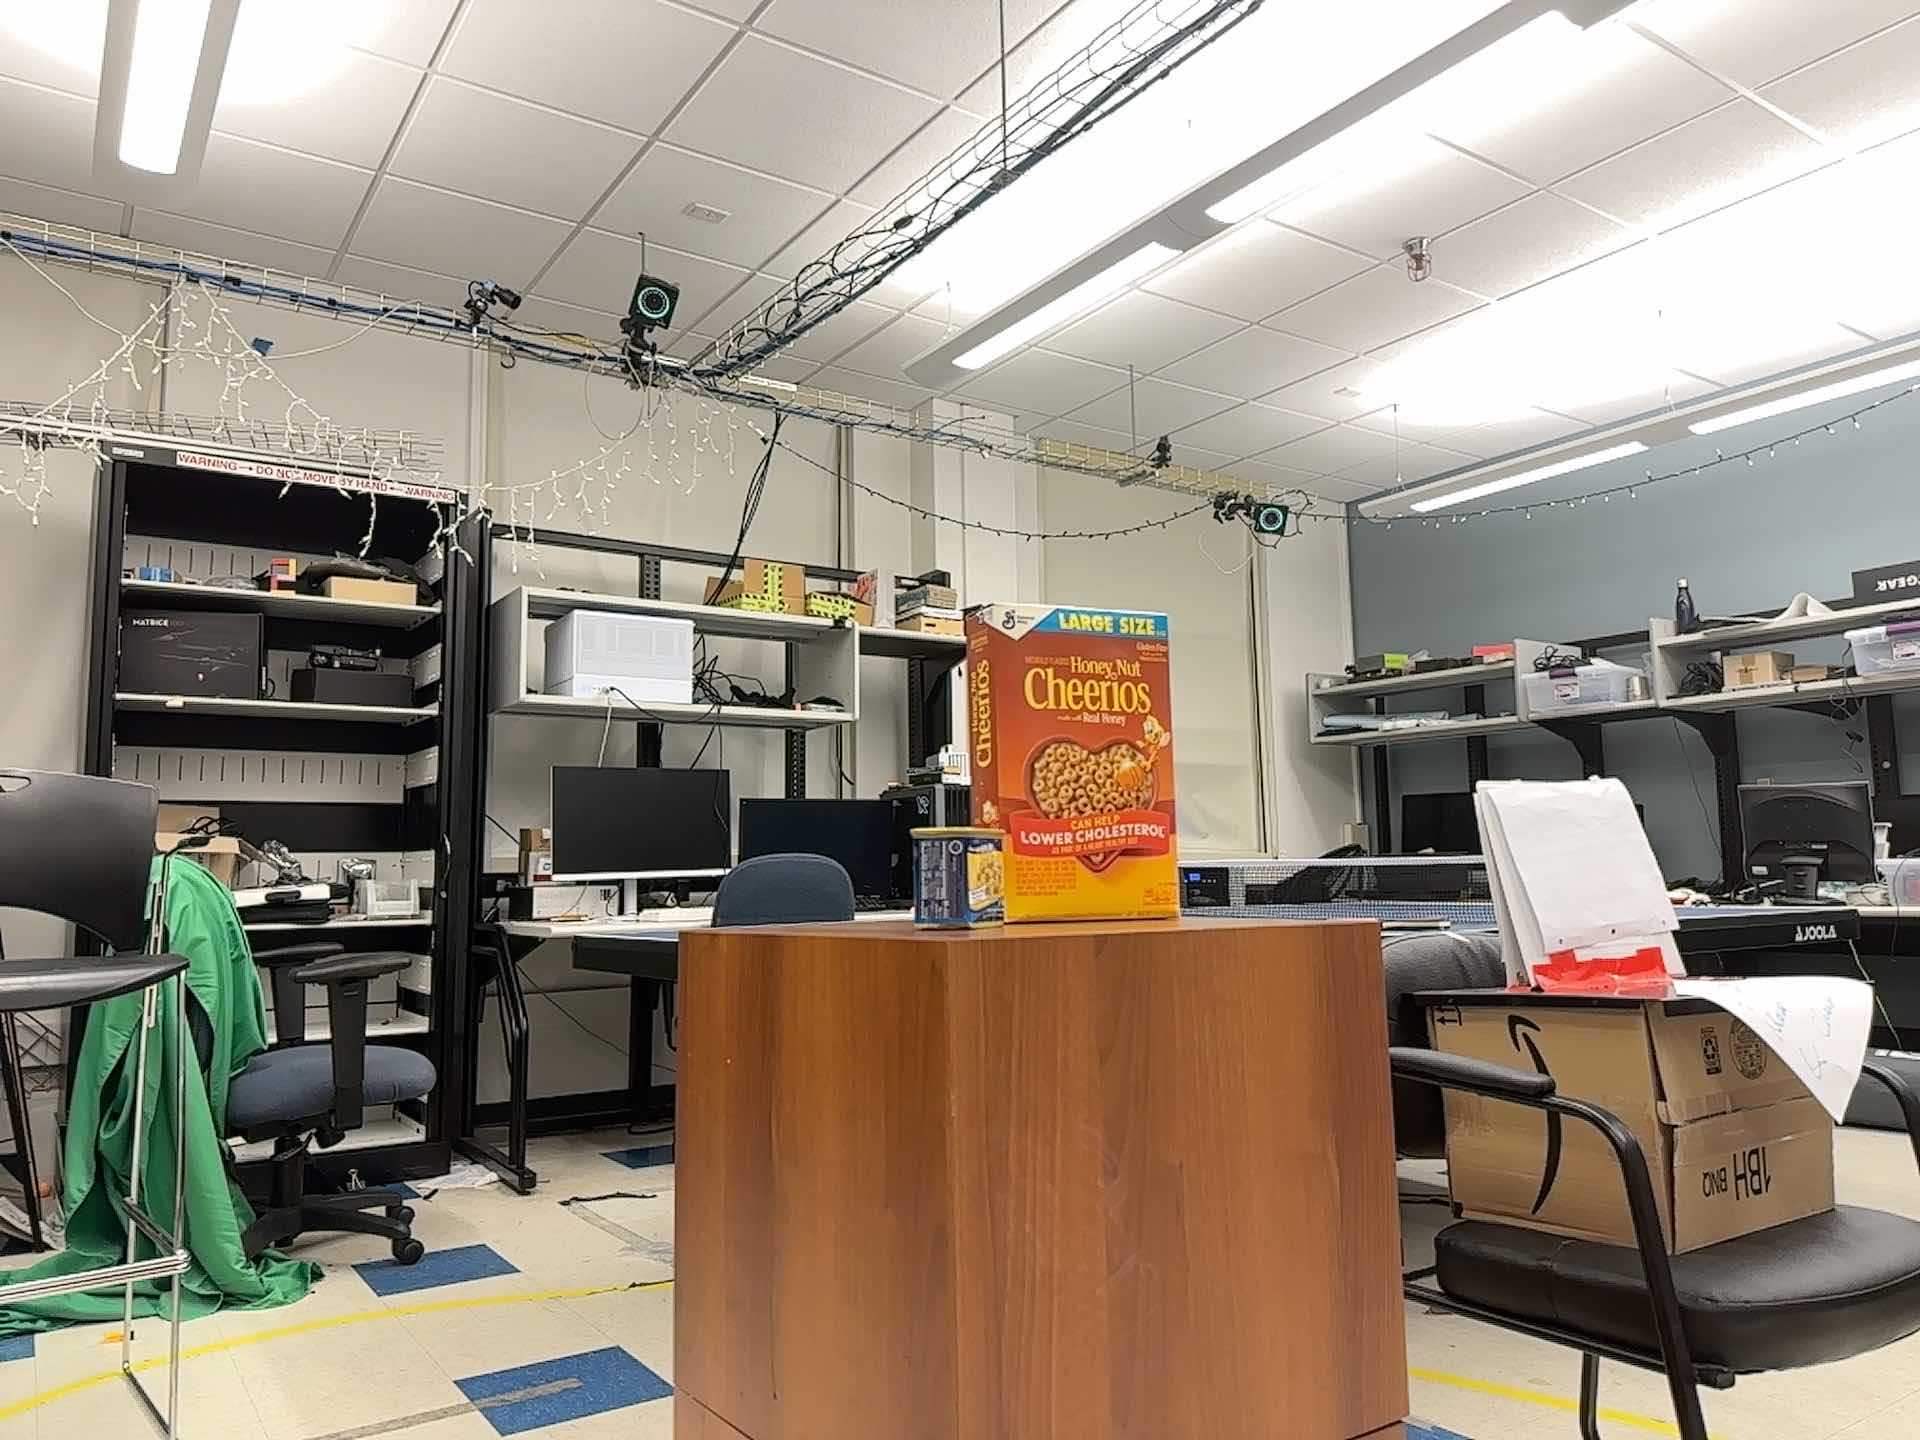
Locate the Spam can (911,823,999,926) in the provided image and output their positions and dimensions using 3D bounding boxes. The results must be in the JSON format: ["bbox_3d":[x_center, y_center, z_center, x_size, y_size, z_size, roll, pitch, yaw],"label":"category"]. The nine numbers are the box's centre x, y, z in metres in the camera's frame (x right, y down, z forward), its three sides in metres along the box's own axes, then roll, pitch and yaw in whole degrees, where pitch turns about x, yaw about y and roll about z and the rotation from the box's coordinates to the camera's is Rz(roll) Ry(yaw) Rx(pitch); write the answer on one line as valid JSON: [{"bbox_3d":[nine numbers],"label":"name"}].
[{"bbox_3d":[-0.003,0.133,1.158,0.056,0.083,0.100,-3,-8,18],"label":"Spam can"}]

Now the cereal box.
[{"bbox_3d":[0.111,0.045,1.331,0.195,0.297,0.065,4,-9,-25],"label":"cereal box"}]
